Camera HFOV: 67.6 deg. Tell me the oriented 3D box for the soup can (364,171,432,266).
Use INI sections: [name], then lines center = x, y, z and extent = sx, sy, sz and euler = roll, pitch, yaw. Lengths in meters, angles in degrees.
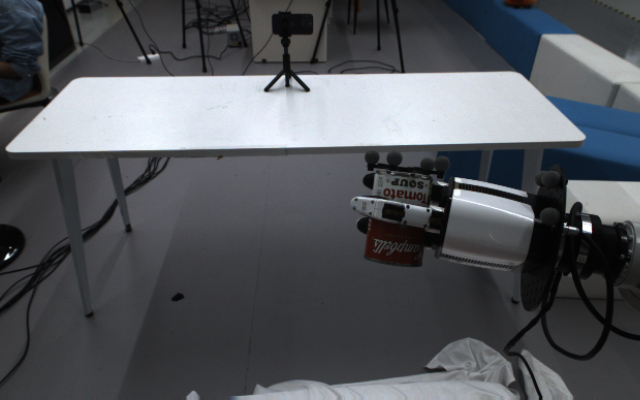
[soup can]
center = 0.092, 0.020, 0.554
extent = 0.067, 0.101, 0.067
euler = 7, 3, 0
